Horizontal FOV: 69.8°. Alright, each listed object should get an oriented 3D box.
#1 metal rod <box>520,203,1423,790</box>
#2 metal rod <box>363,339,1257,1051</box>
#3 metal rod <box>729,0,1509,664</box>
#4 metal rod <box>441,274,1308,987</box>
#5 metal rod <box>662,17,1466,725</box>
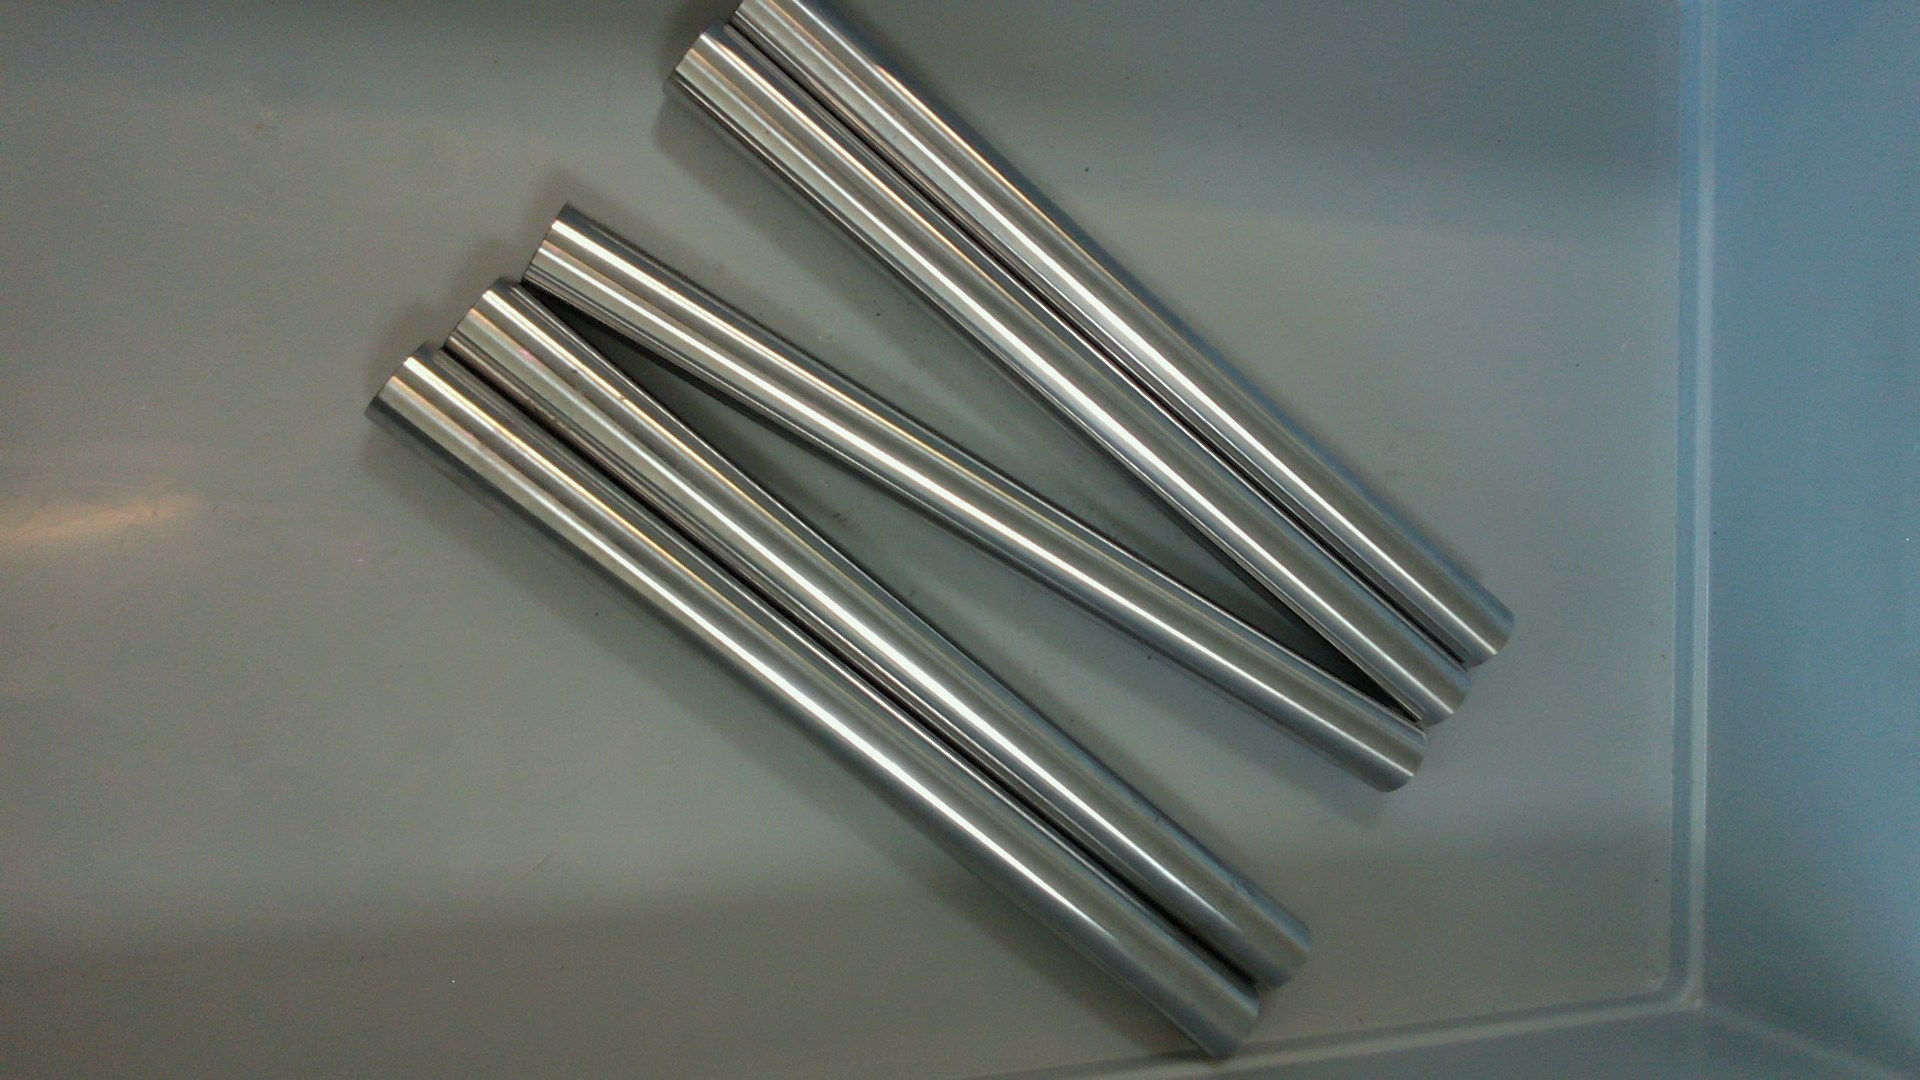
[{"bbox_3d":[0.017,-0.003,0.399,0.301,0.025,0.025,30,80,-18],"label":"metal rod"},{"bbox_3d":[-0.029,0.053,0.382,0.300,0.025,0.025,40,77,-16],"label":"metal rod"},{"bbox_3d":[0.058,-0.058,0.413,0.301,0.025,0.025,38,78,-16],"label":"metal rod"},{"bbox_3d":[-0.012,0.035,0.388,0.300,0.025,0.025,40,77,-16],"label":"metal rod"},{"bbox_3d":[0.042,-0.039,0.408,0.301,0.025,0.025,38,78,-16],"label":"metal rod"}]
